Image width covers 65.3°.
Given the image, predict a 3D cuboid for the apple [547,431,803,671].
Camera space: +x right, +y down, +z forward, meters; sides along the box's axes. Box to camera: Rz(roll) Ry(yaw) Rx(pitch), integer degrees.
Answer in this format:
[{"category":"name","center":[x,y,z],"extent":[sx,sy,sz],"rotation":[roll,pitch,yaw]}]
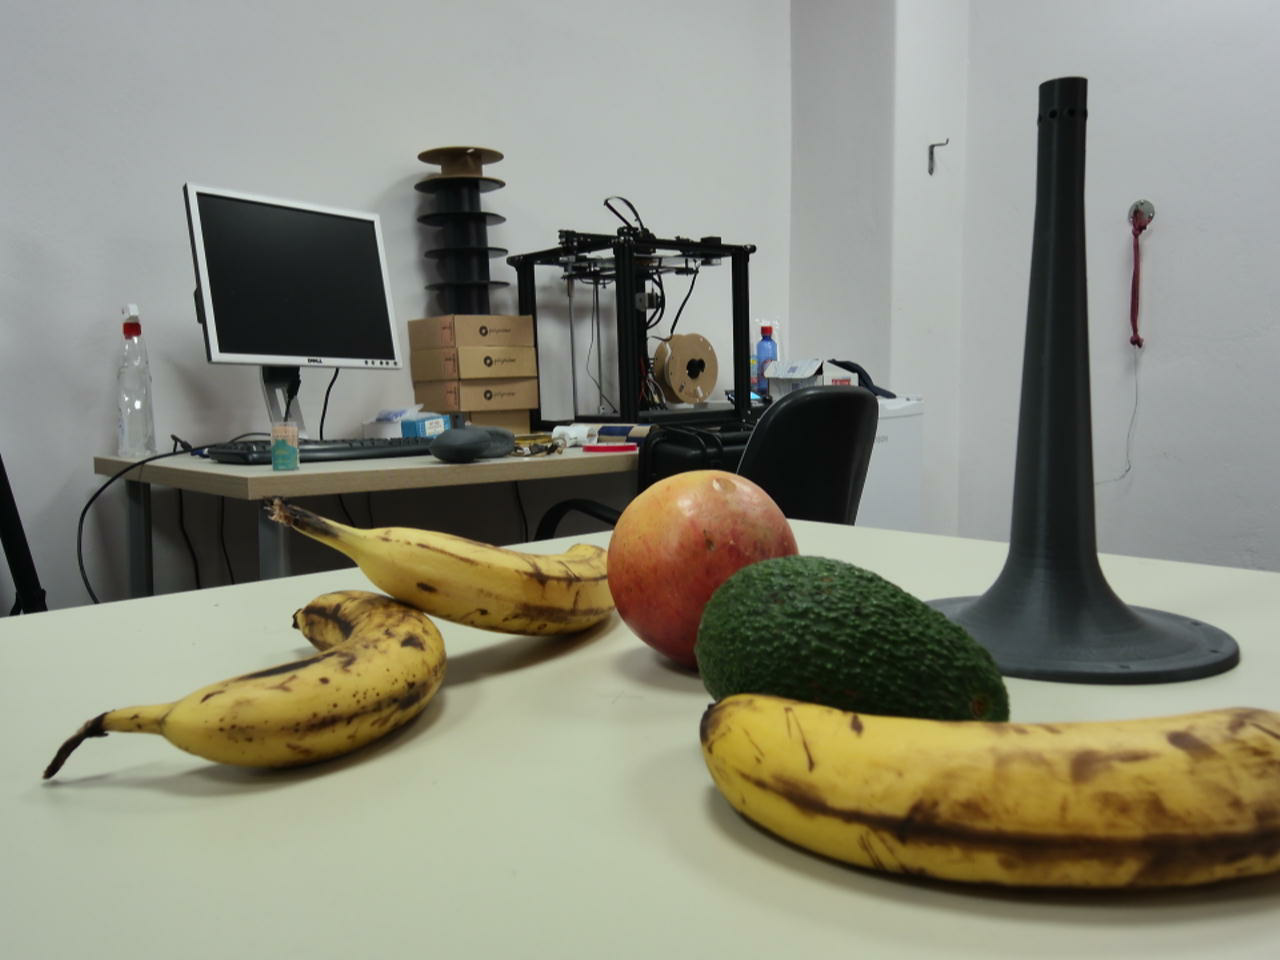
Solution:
[{"category":"apple","center":[0.029,0.038,0.450],"extent":[0.086,0.084,0.093],"rotation":[1,3,14]}]
